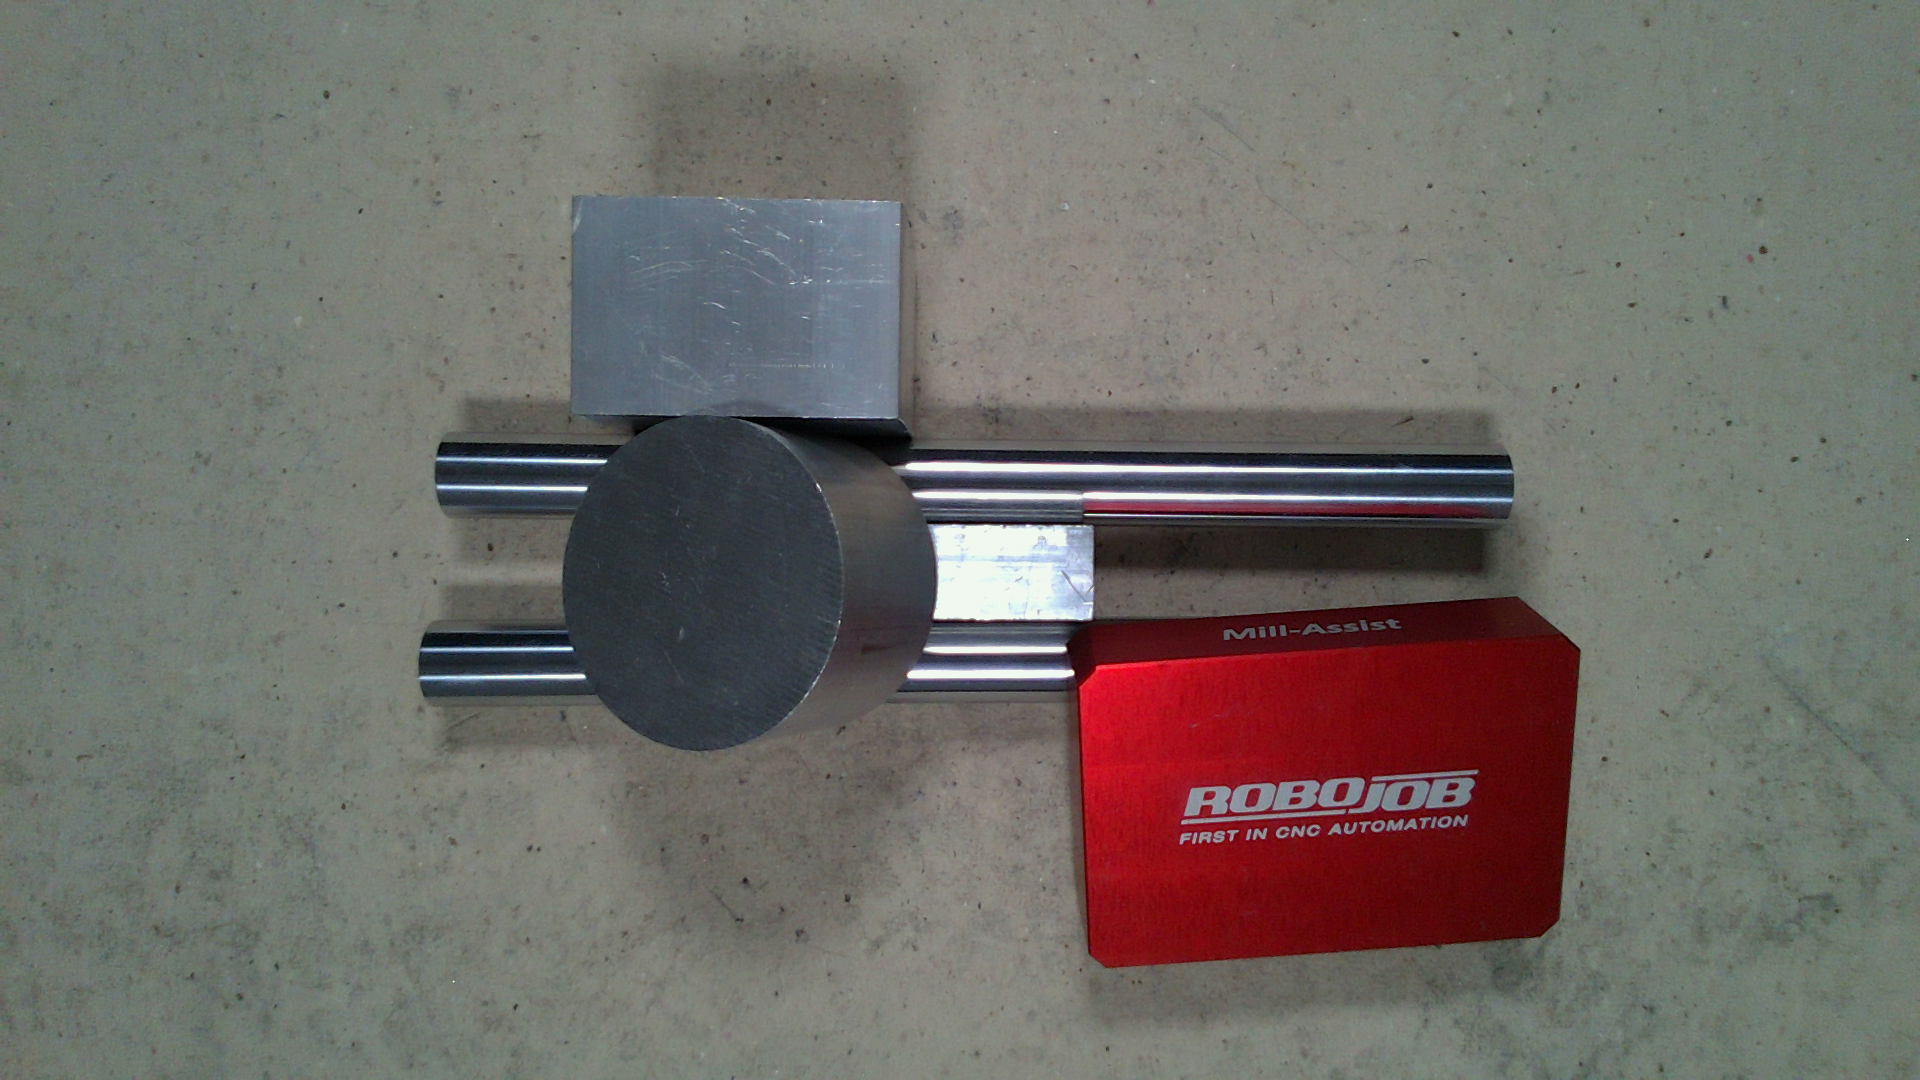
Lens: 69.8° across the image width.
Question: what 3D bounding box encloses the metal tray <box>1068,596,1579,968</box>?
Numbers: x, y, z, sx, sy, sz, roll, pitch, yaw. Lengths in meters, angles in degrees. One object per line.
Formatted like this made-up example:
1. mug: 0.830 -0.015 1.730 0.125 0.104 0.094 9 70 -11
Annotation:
1. metal tray: 0.097 0.067 0.379 0.130 0.030 0.090 -4 108 -1

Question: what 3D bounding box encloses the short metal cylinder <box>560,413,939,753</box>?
1. short metal cylinder: -0.052 0.011 0.347 0.080 0.050 0.080 -1 88 24

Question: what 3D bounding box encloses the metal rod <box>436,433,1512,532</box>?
1. metal rod: 0.004 -0.017 0.396 0.300 0.025 0.025 1 90 0

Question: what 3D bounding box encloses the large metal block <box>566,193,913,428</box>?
1. large metal block: -0.053 -0.057 0.368 0.080 0.080 0.050 1 90 0

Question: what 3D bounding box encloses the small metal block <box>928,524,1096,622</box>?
1. small metal block: 0.010 0.008 0.383 0.050 0.050 0.025 1 90 0

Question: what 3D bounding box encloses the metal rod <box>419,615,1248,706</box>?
1. metal rod: 0.000 0.035 0.396 0.300 0.025 0.025 0 90 0
